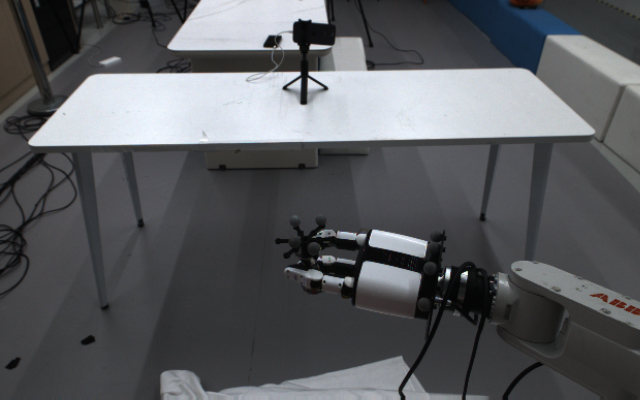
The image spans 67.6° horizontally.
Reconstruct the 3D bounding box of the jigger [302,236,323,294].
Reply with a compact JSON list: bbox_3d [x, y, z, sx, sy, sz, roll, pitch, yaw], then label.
[{"bbox_3d":[-0.011,0.097,0.722,0.043,0.071,0.043,-9,31,5],"label":"jigger"}]
